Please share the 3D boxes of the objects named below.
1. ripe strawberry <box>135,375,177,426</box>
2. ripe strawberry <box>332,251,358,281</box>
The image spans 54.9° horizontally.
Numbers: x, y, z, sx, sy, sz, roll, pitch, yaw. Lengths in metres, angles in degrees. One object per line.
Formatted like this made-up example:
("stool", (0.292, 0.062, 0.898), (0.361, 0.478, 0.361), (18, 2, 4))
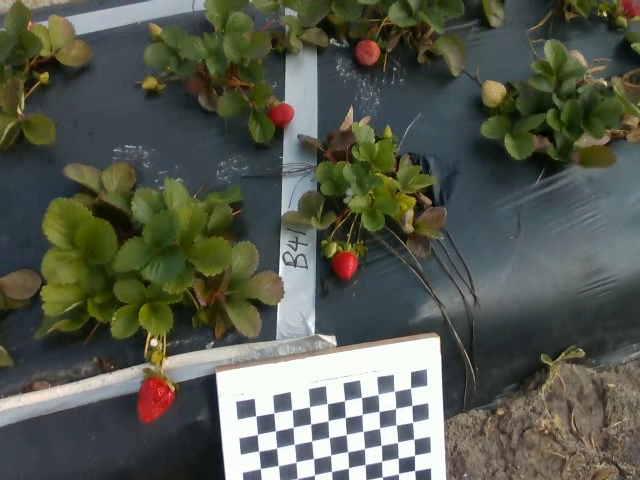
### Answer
("ripe strawberry", (-0.178, 0.173, 0.662), (0.047, 0.053, 0.030), (33, -25, -17))
("ripe strawberry", (0.034, 0.031, 0.738), (0.037, 0.031, 0.048), (8, 43, -14))
